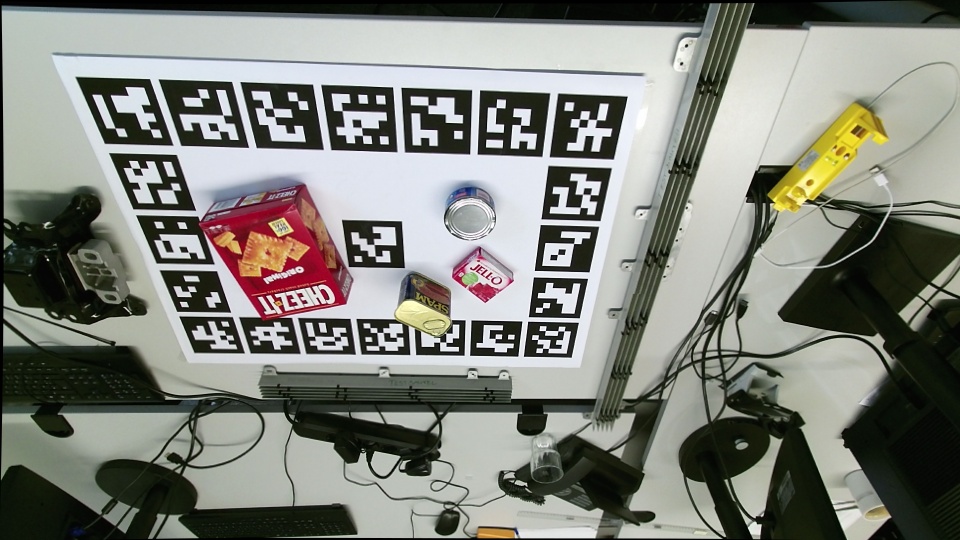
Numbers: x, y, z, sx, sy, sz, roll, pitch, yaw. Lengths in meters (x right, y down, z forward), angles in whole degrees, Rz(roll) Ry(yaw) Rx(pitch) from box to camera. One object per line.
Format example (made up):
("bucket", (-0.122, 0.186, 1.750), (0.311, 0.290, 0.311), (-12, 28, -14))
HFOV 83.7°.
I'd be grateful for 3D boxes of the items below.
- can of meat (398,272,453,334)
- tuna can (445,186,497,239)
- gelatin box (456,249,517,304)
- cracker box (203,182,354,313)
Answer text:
("can of meat", (-0.102, 0.059, 0.999), (0.102, 0.083, 0.058), (26, 123, -21))
("tuna can", (-0.015, -0.097, 0.897), (0.086, 0.033, 0.086), (-1, 125, -2))
("gelatin box", (0.012, 0.014, 0.990), (0.089, 0.030, 0.073), (38, 121, -23))
("cracker box", (-0.341, -0.031, 0.929), (0.165, 0.071, 0.214), (-11, 129, 9))
